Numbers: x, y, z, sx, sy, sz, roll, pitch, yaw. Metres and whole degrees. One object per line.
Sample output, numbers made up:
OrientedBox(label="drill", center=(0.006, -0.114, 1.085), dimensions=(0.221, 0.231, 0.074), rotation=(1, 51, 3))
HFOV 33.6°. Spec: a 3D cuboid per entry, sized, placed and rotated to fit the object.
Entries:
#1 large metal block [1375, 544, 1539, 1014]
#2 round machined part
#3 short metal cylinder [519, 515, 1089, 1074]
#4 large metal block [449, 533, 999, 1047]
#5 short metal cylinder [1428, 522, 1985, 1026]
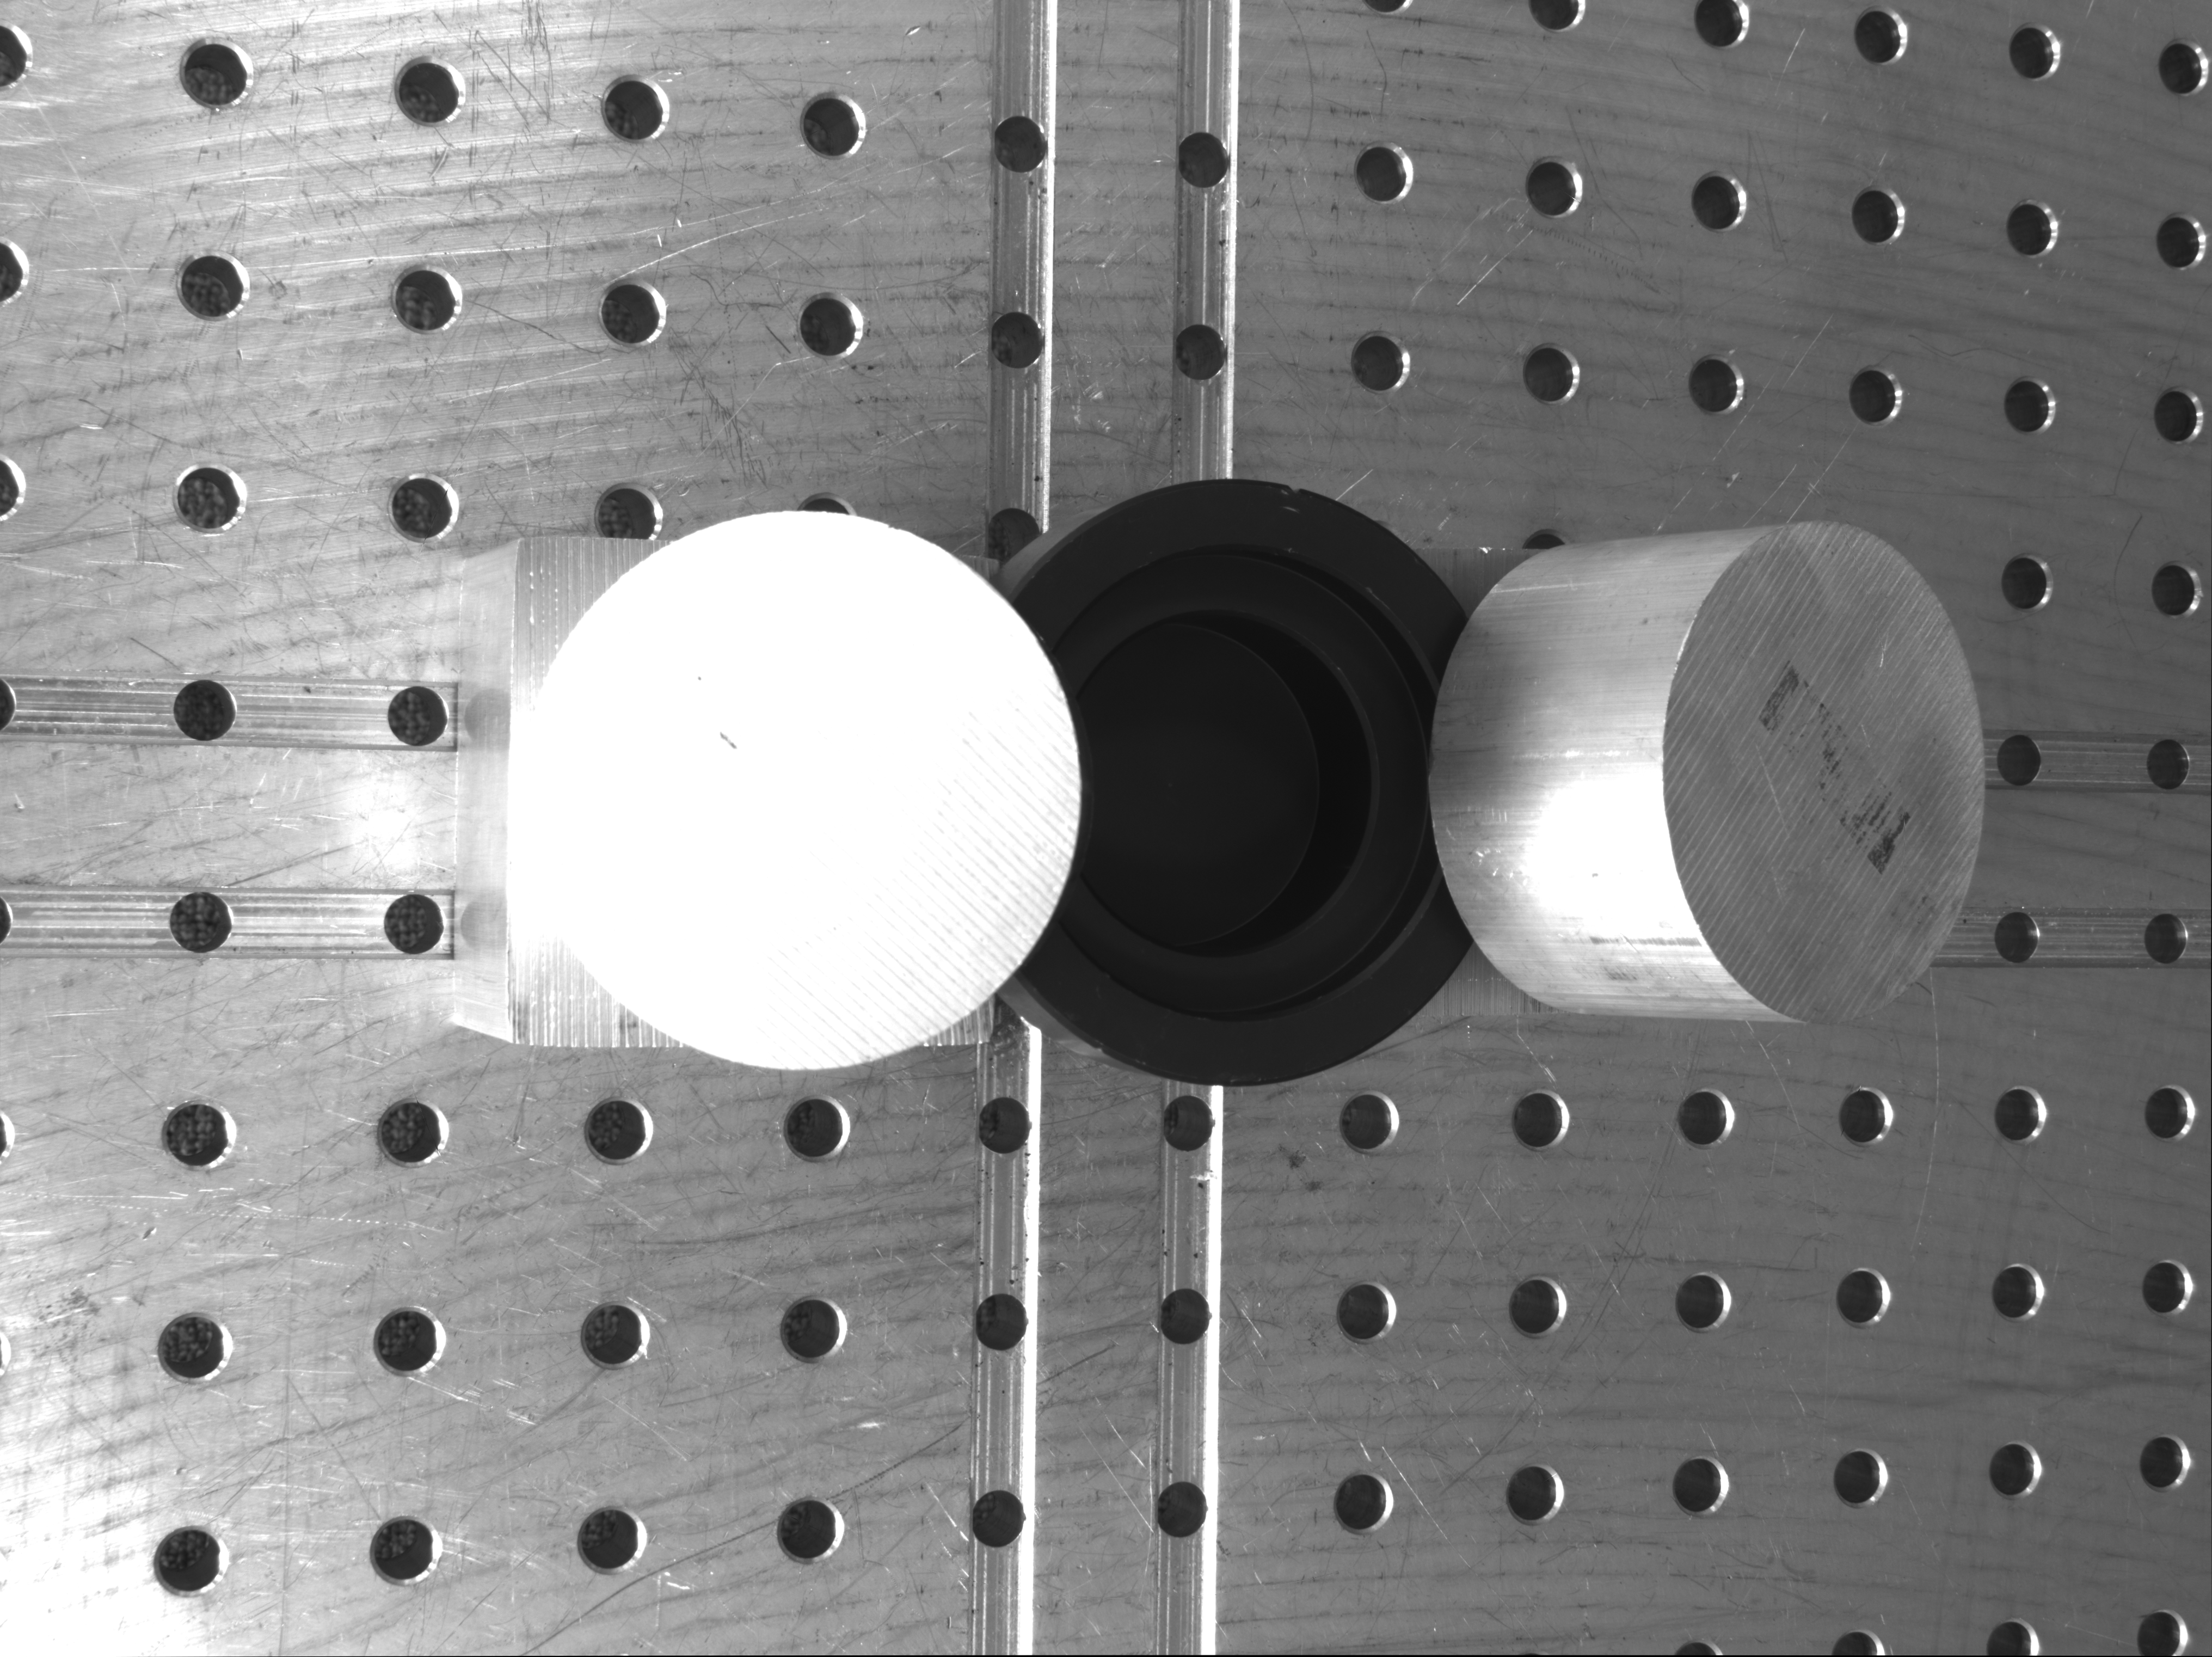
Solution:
OrientedBox(label="large metal block", center=(0.077, -0.009, 0.660), dimensions=(0.080, 0.050, 0.080), rotation=(-1, 90, -20))
OrientedBox(label="round machined part", center=(0.015, -0.007, 0.610), dimensions=(0.098, 0.042, 0.098), rotation=(0, 90, -20))
OrientedBox(label="short metal cylinder", center=(-0.043, -0.005, 0.549), dimensions=(0.080, 0.050, 0.080), rotation=(0, 91, 1))
OrientedBox(label="large metal block", center=(-0.064, -0.005, 0.609), dimensions=(0.080, 0.050, 0.080), rotation=(1, 90, -20))
OrientedBox(label="short metal cylinder", center=(0.099, -0.008, 0.601), dimensions=(0.080, 0.050, 0.080), rotation=(1, 89, -40))
